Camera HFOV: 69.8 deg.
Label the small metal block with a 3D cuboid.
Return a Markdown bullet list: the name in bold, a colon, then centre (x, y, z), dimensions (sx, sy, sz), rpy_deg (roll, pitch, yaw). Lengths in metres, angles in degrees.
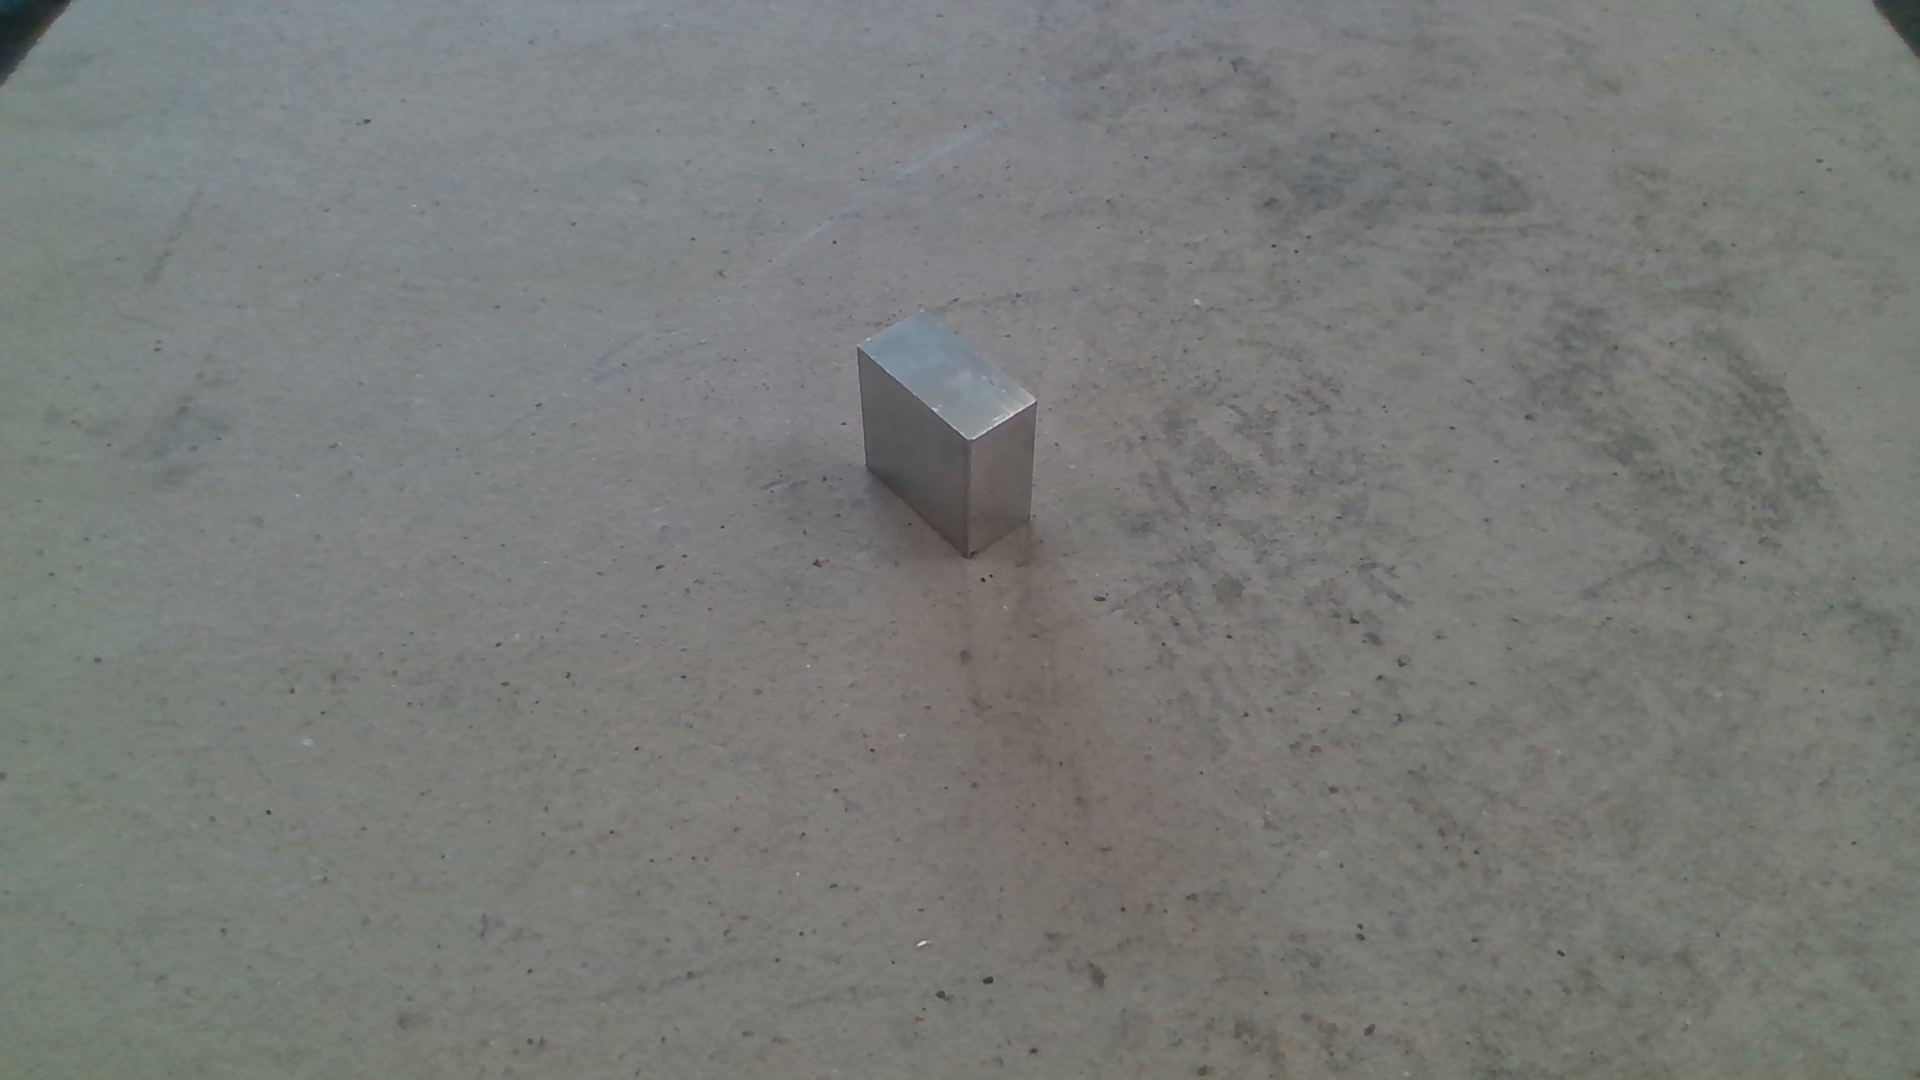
- **small metal block**: centre (-0.004, -0.031, 0.404), dimensions (0.025, 0.050, 0.050), rpy_deg (-33, 58, -24)
